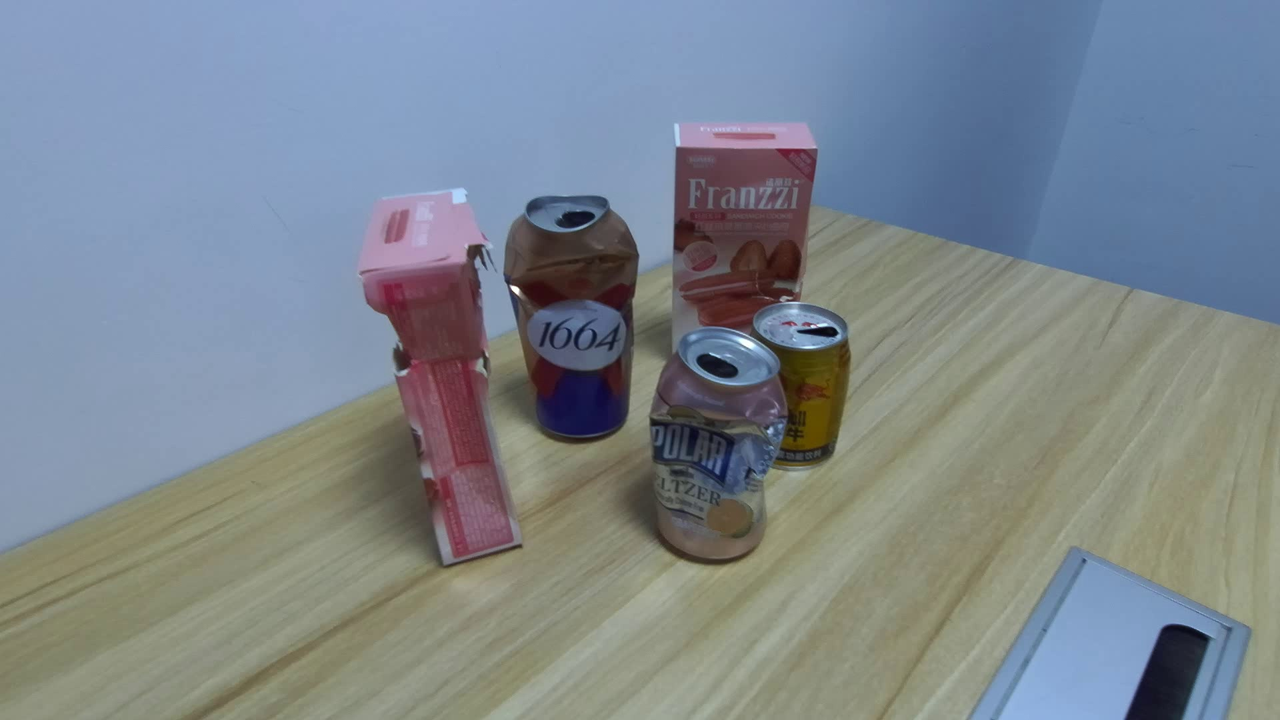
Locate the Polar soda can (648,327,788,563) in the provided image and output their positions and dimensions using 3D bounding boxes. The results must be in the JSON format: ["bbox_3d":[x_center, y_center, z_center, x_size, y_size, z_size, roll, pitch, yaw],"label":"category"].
[{"bbox_3d":[0.046,0.048,0.390,0.070,0.122,0.067,20,33,29],"label":"Polar soda can"}]

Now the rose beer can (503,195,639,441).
[{"bbox_3d":[-0.042,-0.026,0.475,0.074,0.162,0.067,-22,37,-28],"label":"rose beer can"}]

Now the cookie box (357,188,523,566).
[{"bbox_3d":[-0.102,0.012,0.392,0.059,0.186,0.104,-11,33,-12],"label":"cookie box"}]

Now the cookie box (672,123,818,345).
[{"bbox_3d":[0.076,-0.079,0.534,0.105,0.188,0.049,1,37,1],"label":"cookie box"}]

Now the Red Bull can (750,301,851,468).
[{"bbox_3d":[0.101,0.016,0.463,0.069,0.092,0.069,-1,32,1],"label":"Red Bull can"}]
